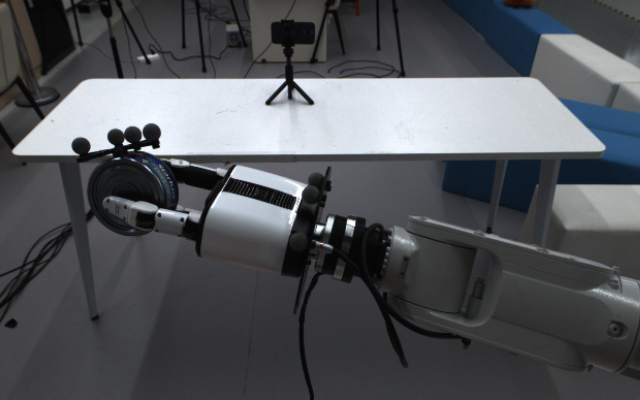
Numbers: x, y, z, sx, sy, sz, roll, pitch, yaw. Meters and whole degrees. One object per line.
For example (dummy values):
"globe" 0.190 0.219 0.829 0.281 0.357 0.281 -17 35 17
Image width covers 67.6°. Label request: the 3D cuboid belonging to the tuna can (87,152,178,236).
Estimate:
"tuna can" -0.191 0.000 0.502 0.085 0.085 0.034 6 18 5
